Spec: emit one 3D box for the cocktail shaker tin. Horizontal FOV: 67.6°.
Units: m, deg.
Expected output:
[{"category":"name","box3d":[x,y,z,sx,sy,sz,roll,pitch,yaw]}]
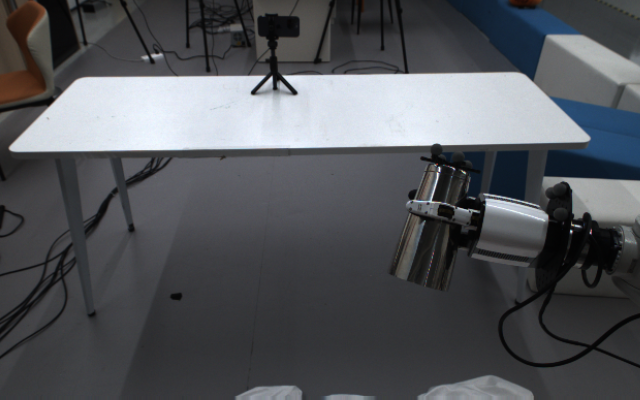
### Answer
[{"category":"cocktail shaker tin","box3d":[0.168,0.037,0.708,0.093,0.170,0.093,16,-2,1]}]
